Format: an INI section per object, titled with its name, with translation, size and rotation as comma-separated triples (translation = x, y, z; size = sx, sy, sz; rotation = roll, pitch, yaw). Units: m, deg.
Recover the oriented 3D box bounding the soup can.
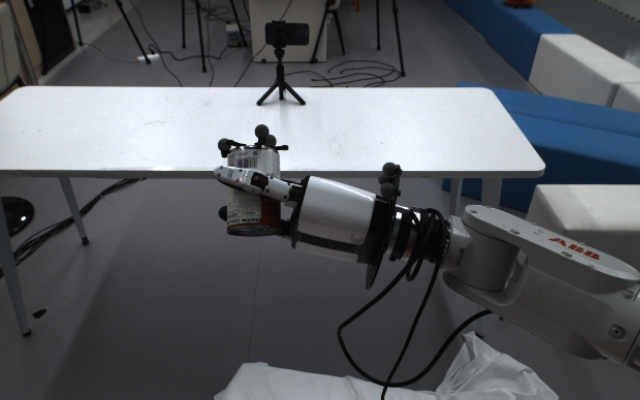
[soup can]
translation = -0.081, -0.009, 0.602
size = 0.067, 0.067, 0.101
rotation = -1, 76, -5
